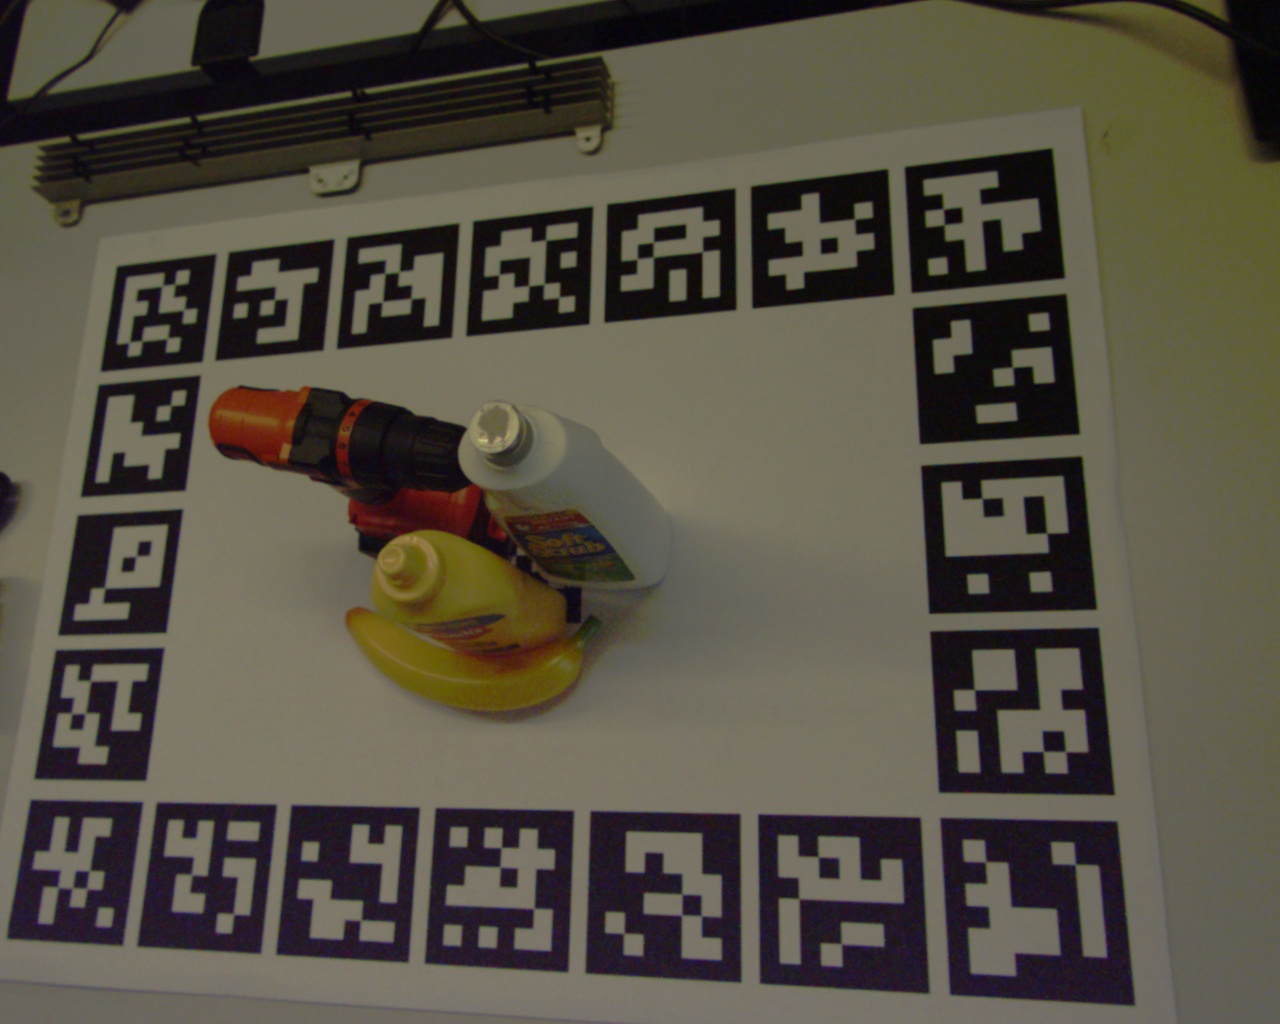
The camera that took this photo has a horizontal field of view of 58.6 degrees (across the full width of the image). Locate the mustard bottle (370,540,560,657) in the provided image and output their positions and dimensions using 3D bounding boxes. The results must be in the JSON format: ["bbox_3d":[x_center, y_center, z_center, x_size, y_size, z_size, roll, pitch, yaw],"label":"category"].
[{"bbox_3d":[-0.124,0.057,0.758,0.097,0.190,0.058,-2,75,13],"label":"mustard bottle"}]

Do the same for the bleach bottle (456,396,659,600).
[{"bbox_3d":[-0.060,-0.008,0.732,0.103,0.248,0.068,0,70,15],"label":"bleach bottle"}]

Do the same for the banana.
[{"bbox_3d":[-0.124,0.108,0.835,0.199,0.038,0.074,2,77,18],"label":"banana"}]

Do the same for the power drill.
[{"bbox_3d":[-0.167,-0.015,0.768,0.186,0.185,0.057,10,77,16],"label":"power drill"}]
